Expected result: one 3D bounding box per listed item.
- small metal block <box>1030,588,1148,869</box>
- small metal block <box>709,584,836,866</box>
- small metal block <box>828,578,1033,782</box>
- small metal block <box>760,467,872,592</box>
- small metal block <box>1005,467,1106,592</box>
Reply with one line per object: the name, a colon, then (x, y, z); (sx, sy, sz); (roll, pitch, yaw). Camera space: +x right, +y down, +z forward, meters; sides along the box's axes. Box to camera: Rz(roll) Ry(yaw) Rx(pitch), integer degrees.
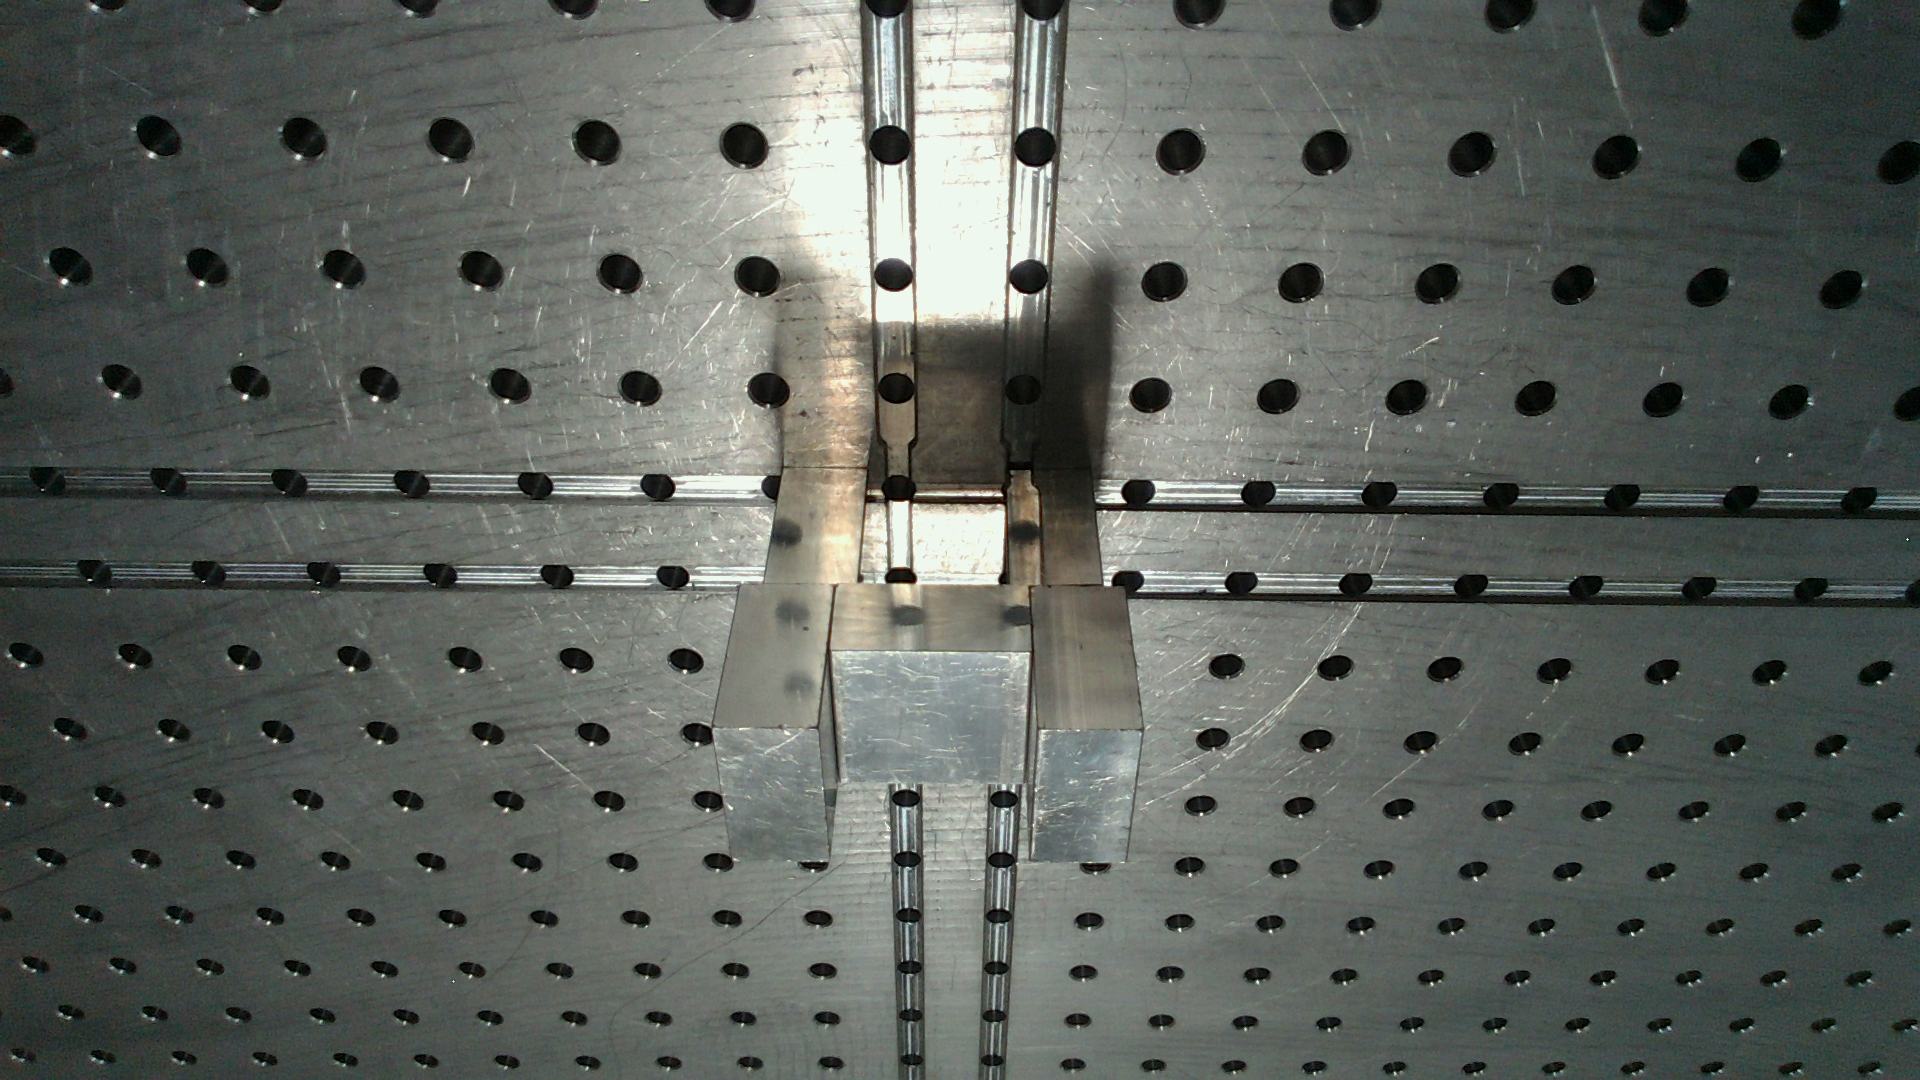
small metal block: (0.031, 0.048, 0.350); (0.025, 0.050, 0.050); (1, 130, 0)
small metal block: (-0.045, 0.047, 0.350); (0.025, 0.050, 0.050); (1, 130, 0)
small metal block: (-0.007, 0.037, 0.360); (0.050, 0.025, 0.050); (0, 130, -1)
small metal block: (-0.039, 0.015, 0.388); (0.025, 0.050, 0.050); (0, 130, 0)
small metal block: (0.026, 0.015, 0.389); (0.025, 0.050, 0.050); (-1, 130, 1)
